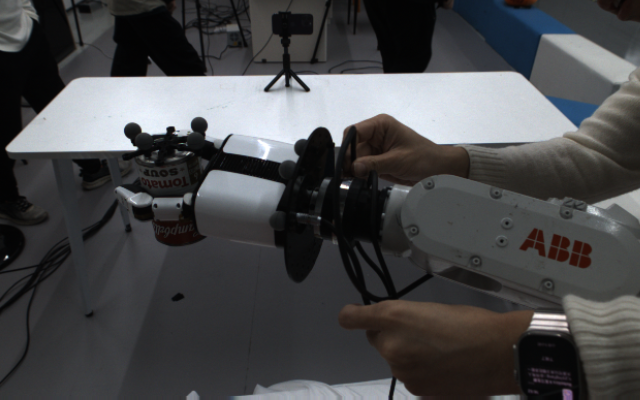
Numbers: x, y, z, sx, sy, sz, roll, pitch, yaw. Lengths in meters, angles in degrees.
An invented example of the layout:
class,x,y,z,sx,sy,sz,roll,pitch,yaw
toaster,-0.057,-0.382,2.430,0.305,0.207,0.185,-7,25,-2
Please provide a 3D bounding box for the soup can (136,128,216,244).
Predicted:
class,x,y,z,sx,sy,sz,roll,pitch,yaw
soup can,-0.155,-0.009,0.527,0.067,0.101,0.067,-2,32,1
